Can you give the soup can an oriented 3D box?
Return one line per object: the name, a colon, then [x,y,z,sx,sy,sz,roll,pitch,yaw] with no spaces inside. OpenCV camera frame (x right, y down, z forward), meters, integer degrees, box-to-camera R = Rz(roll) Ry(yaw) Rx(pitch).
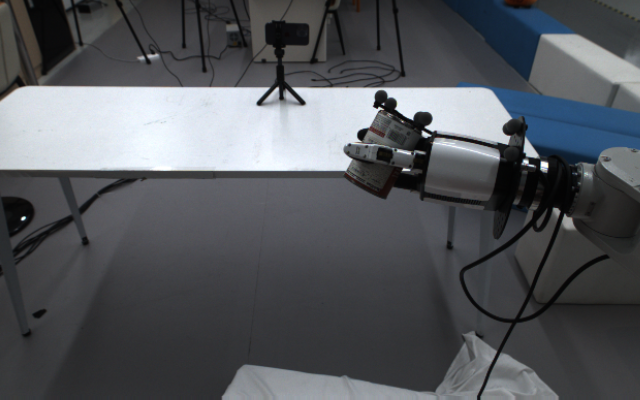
soup can: [0.085,-0.062,0.655,0.067,0.101,0.067,27,10,-5]
